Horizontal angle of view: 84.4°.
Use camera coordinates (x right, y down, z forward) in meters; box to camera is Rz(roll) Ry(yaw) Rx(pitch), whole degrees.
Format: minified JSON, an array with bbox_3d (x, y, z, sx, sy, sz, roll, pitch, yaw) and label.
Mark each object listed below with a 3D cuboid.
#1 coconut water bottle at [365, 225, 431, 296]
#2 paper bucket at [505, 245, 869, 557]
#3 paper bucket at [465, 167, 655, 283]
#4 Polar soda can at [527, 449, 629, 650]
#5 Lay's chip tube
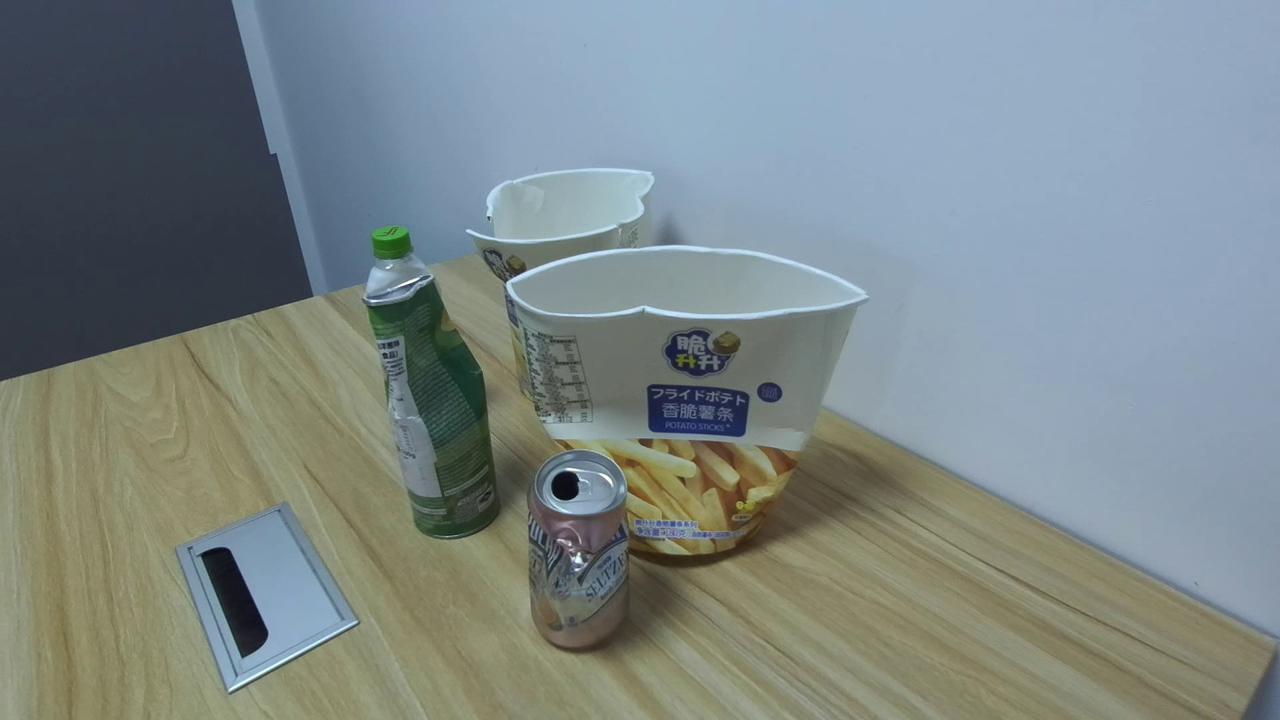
[{"bbox_3d":[-0.204,-0.024,0.633,0.067,0.187,0.067,-7,18,2],"label":"coconut water bottle"},{"bbox_3d":[0.032,0.028,0.525,0.218,0.199,0.147,-15,33,-22],"label":"paper bucket"},{"bbox_3d":[-0.059,-0.068,0.691,0.146,0.197,0.202,-2,30,4],"label":"paper bucket"},{"bbox_3d":[-0.037,0.123,0.452,0.067,0.122,0.071,-2,31,-11],"label":"Polar soda can"},{"bbox_3d":[-0.158,0.034,0.533,0.070,0.199,0.079,14,31,37],"label":"Lay's chip tube"}]
